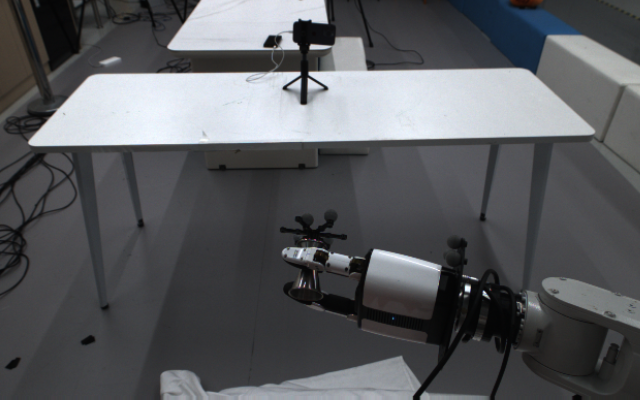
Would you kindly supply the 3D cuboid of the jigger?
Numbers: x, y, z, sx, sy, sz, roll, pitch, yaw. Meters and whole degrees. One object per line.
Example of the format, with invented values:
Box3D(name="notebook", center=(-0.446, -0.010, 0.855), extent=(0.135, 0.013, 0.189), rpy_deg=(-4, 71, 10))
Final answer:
Box3D(name="jigger", center=(-0.016, 0.087, 0.616), extent=(0.043, 0.043, 0.071), rpy_deg=(5, 60, 4))
